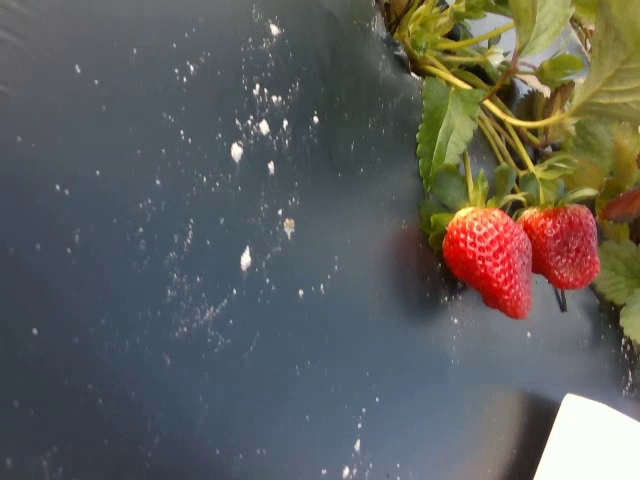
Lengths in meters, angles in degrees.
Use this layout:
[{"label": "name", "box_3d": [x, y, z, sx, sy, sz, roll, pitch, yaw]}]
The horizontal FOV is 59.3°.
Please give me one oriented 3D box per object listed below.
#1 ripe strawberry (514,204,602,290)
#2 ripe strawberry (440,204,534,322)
[{"label": "ripe strawberry", "box_3d": [0.132, 0.002, 0.297, 0.042, 0.053, 0.034, 9, -33, -32]}, {"label": "ripe strawberry", "box_3d": [0.082, 0.012, 0.254, 0.050, 0.061, 0.045, 15, -40, -32]}]
